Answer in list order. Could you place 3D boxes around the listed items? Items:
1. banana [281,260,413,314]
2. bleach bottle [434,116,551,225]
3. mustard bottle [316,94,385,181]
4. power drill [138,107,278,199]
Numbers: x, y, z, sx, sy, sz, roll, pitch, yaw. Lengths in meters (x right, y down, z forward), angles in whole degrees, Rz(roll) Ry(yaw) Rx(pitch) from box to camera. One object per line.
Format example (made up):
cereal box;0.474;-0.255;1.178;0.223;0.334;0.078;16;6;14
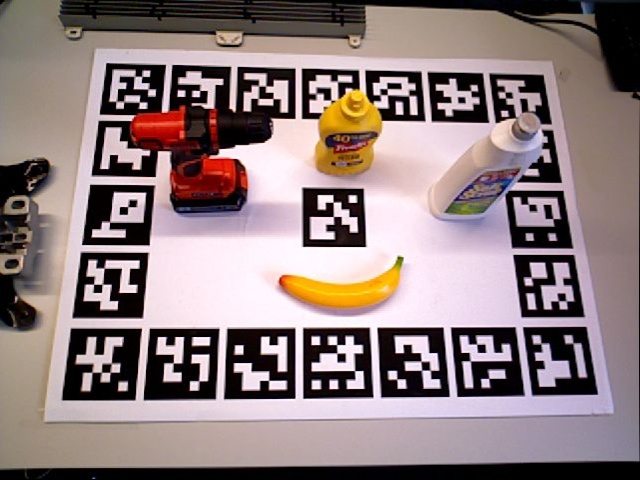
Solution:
banana;0.043;0.073;0.795;0.196;0.039;0.074;-5;75;-2
bleach bottle;0.243;-0.097;0.755;0.102;0.254;0.067;9;71;-2
mustard bottle;0.050;-0.152;0.795;0.095;0.194;0.058;-6;72;-8
power drill;-0.135;-0.121;0.743;0.183;0.189;0.057;-5;72;-2
